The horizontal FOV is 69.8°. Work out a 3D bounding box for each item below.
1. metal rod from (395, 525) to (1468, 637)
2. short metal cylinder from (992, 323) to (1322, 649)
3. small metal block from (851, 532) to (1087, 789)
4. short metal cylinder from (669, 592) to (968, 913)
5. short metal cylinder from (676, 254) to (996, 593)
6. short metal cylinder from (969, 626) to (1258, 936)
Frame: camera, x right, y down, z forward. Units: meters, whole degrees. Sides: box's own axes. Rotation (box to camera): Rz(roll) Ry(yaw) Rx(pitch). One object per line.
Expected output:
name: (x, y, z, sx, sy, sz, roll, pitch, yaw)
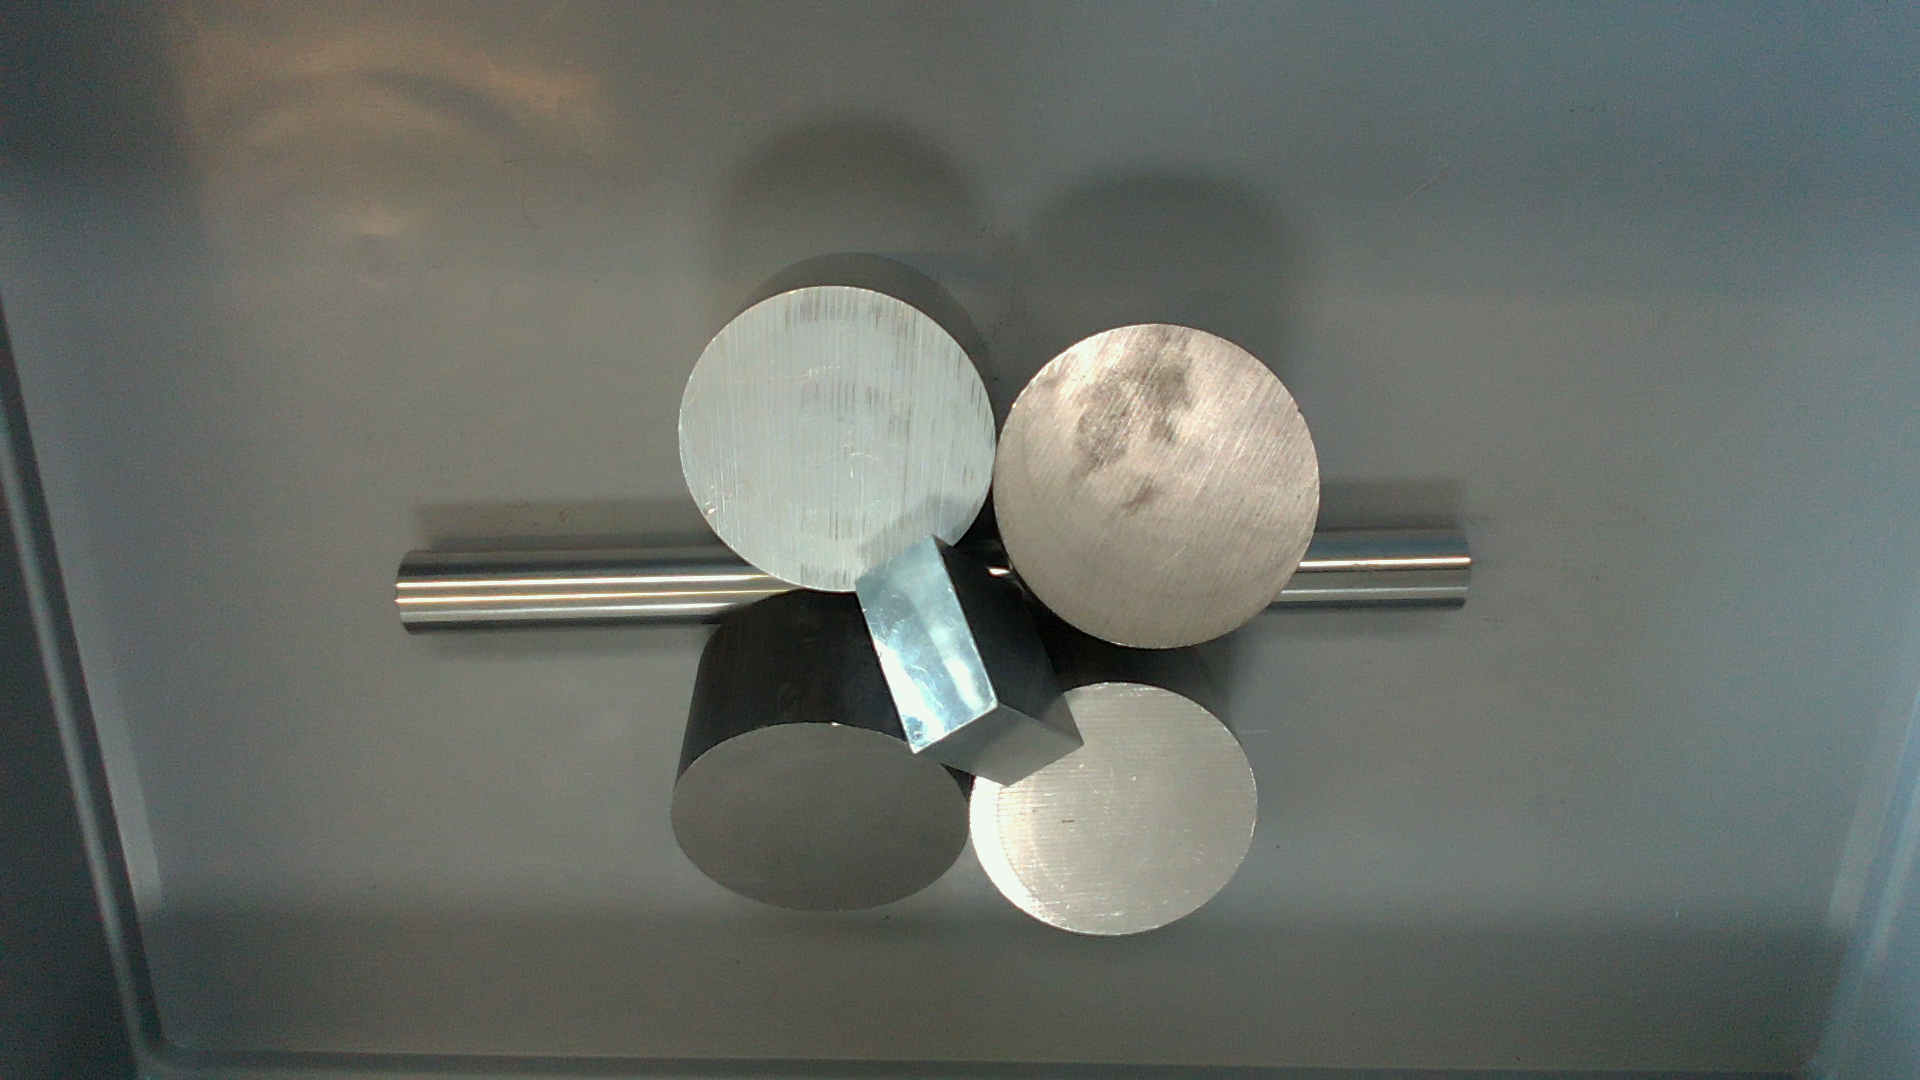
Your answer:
metal rod: (-0.008, 0.012, 0.397, 0.300, 0.025, 0.025, -1, 110, 0)
short metal cylinder: (0.049, -0.012, 0.361, 0.080, 0.050, 0.080, 0, 87, 0)
small metal block: (0.003, 0.032, 0.353, 0.025, 0.050, 0.050, -32, 149, 17)
short metal cylinder: (-0.038, 0.061, 0.389, 0.080, 0.050, 0.080, -1, 130, -1)
short metal cylinder: (-0.031, -0.032, 0.367, 0.080, 0.050, 0.080, 0, 110, 0)
short metal cylinder: (0.043, 0.067, 0.404, 0.080, 0.050, 0.080, 0, 110, 0)
